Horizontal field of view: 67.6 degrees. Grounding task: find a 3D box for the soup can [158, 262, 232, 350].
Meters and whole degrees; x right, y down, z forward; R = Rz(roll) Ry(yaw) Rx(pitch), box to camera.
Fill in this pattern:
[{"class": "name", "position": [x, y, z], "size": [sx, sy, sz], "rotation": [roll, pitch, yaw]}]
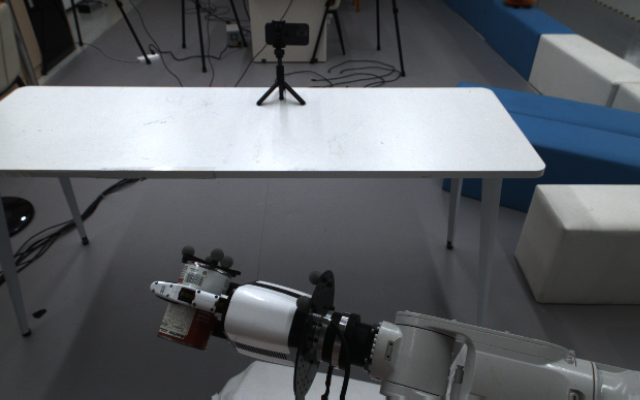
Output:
[{"class": "soup can", "position": [-0.162, 0.140, 0.636], "size": [0.067, 0.067, 0.101], "rotation": [12, 70, 14]}]
